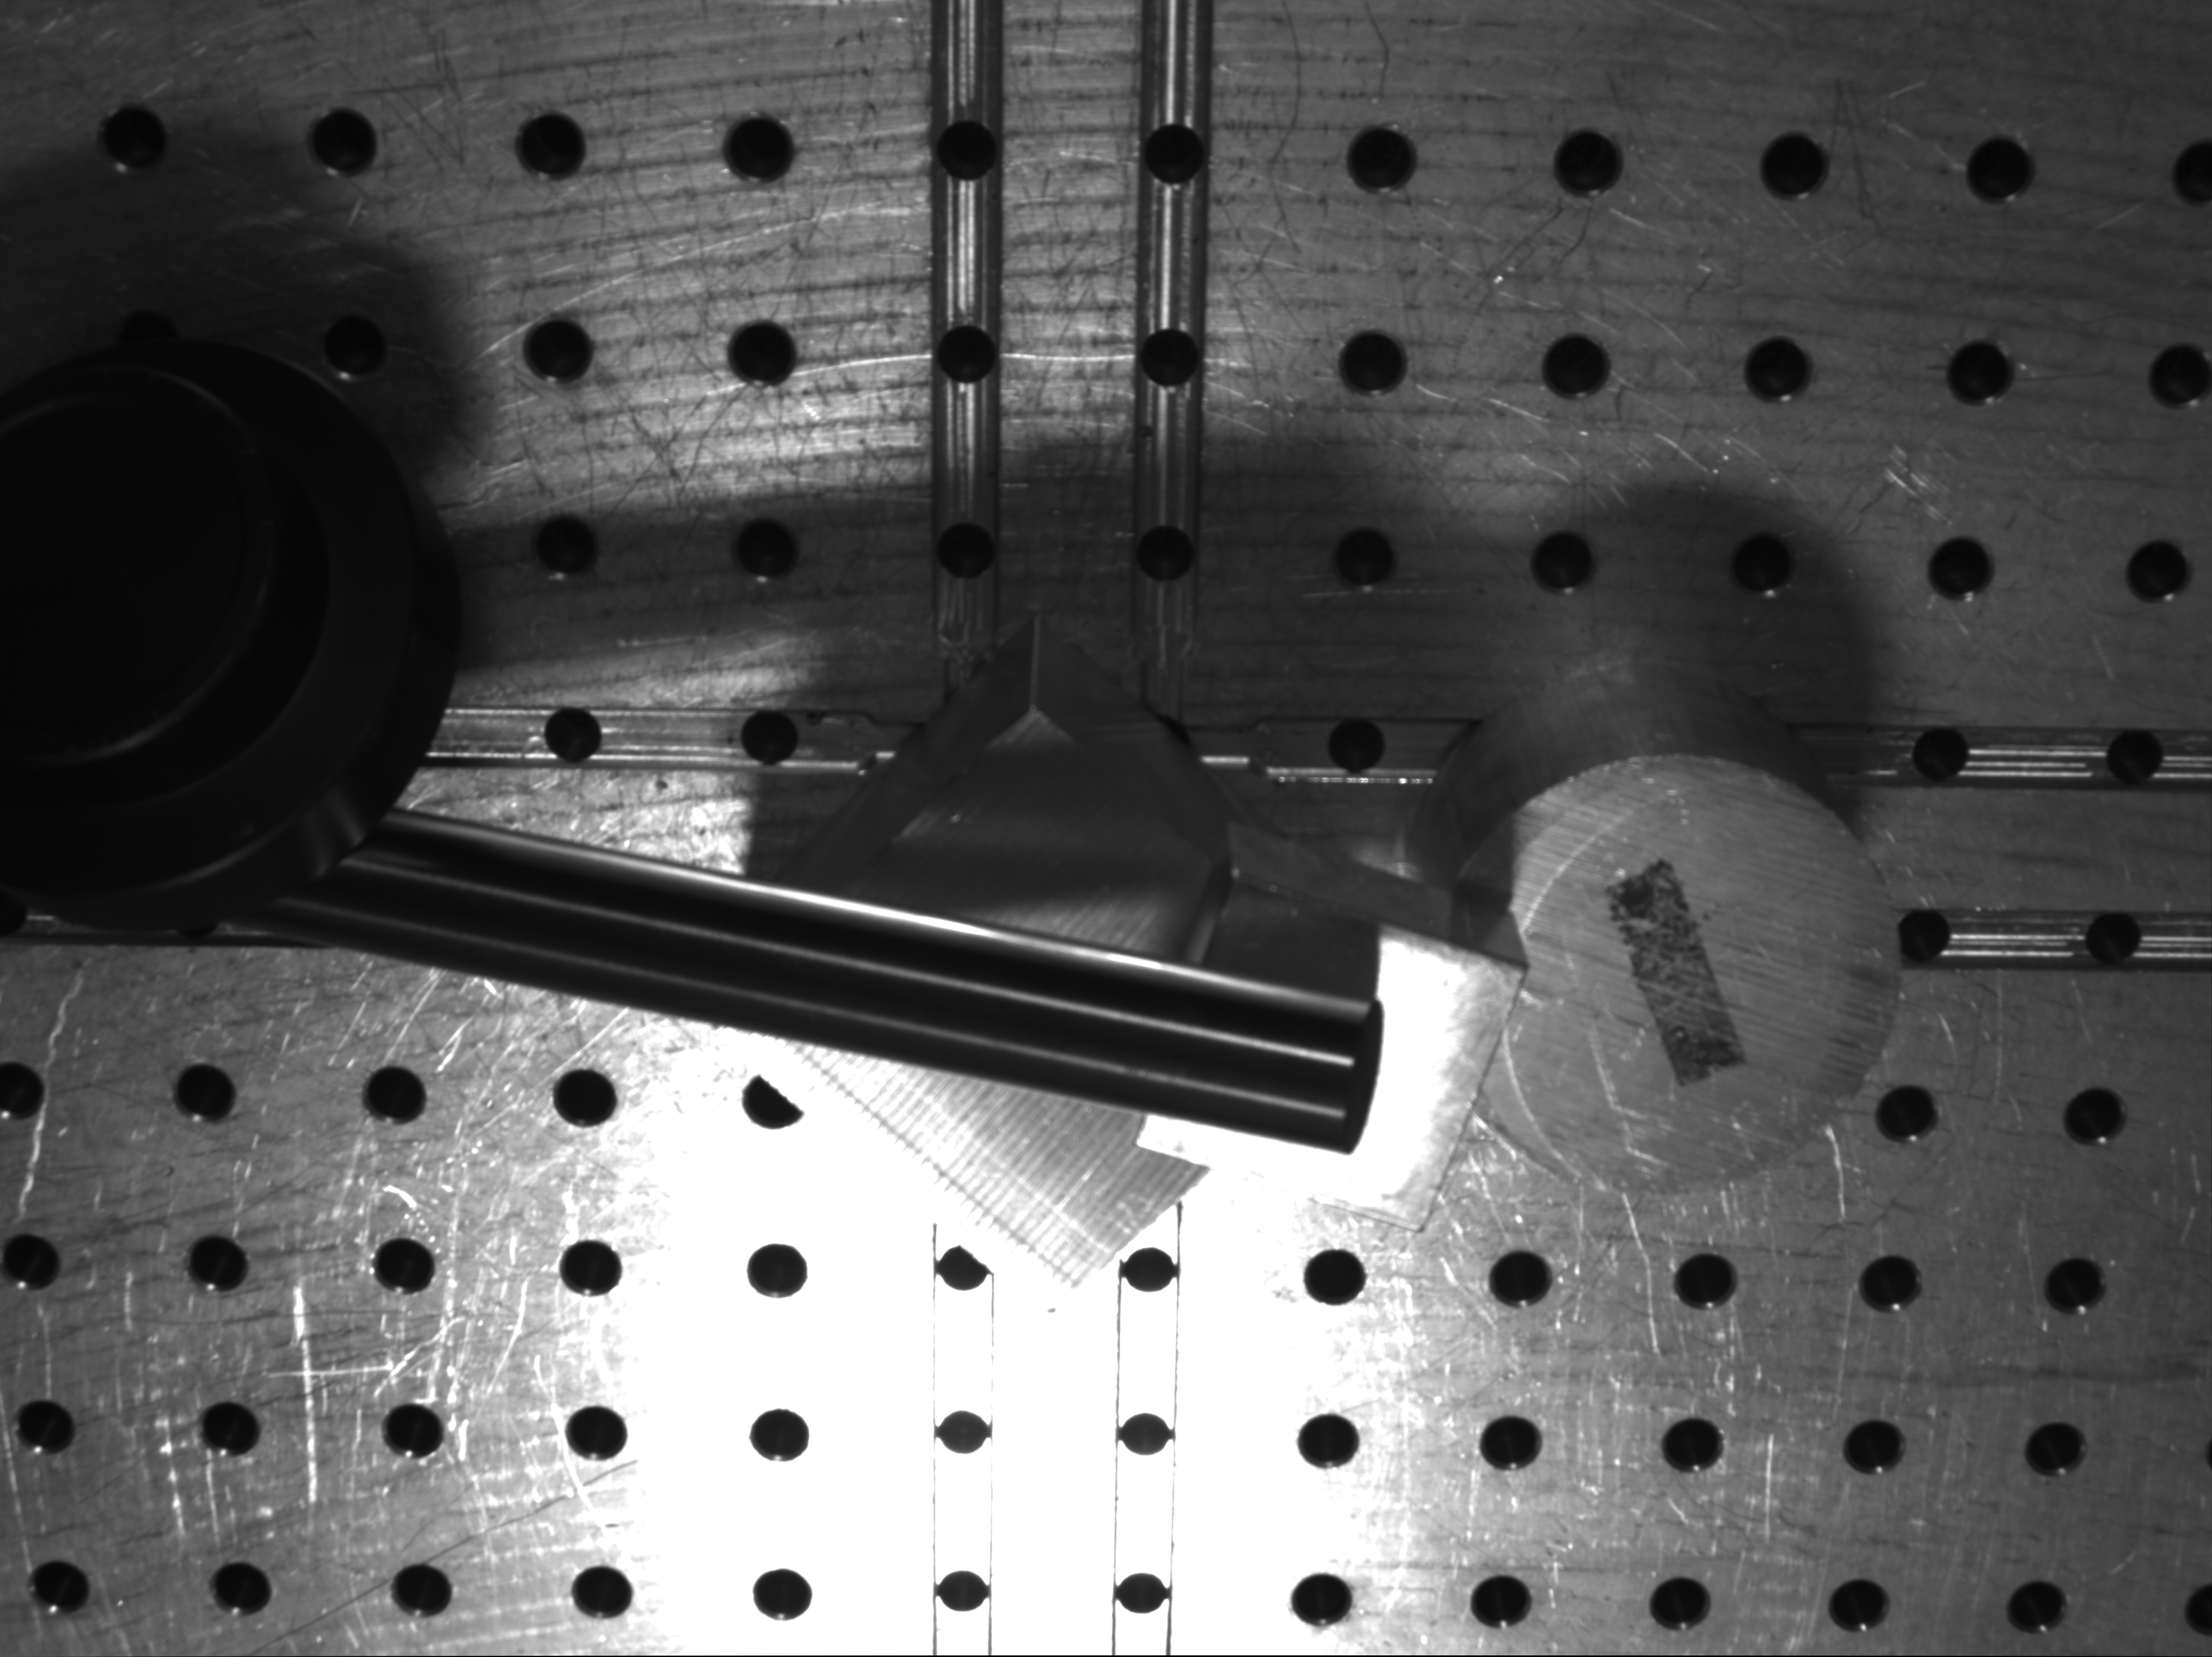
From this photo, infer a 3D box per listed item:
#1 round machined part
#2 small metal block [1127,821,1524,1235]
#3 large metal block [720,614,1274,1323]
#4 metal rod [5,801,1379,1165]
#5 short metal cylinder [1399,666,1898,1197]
[{"bbox_3d":[-0.159,-0.035,0.593,0.098,0.042,0.098,-3,71,10],"label":"round machined part"},{"bbox_3d":[0.035,0.033,0.602,0.050,0.025,0.050,18,109,-7],"label":"small metal block"},{"bbox_3d":[-0.011,0.024,0.639,0.080,0.050,0.080,42,104,-14],"label":"large metal block"},{"bbox_3d":[-0.103,0.013,0.602,0.300,0.025,0.025,11,110,14],"label":"metal rod"},{"bbox_3d":[0.093,0.017,0.640,0.080,0.050,0.080,0,110,-1],"label":"short metal cylinder"}]
